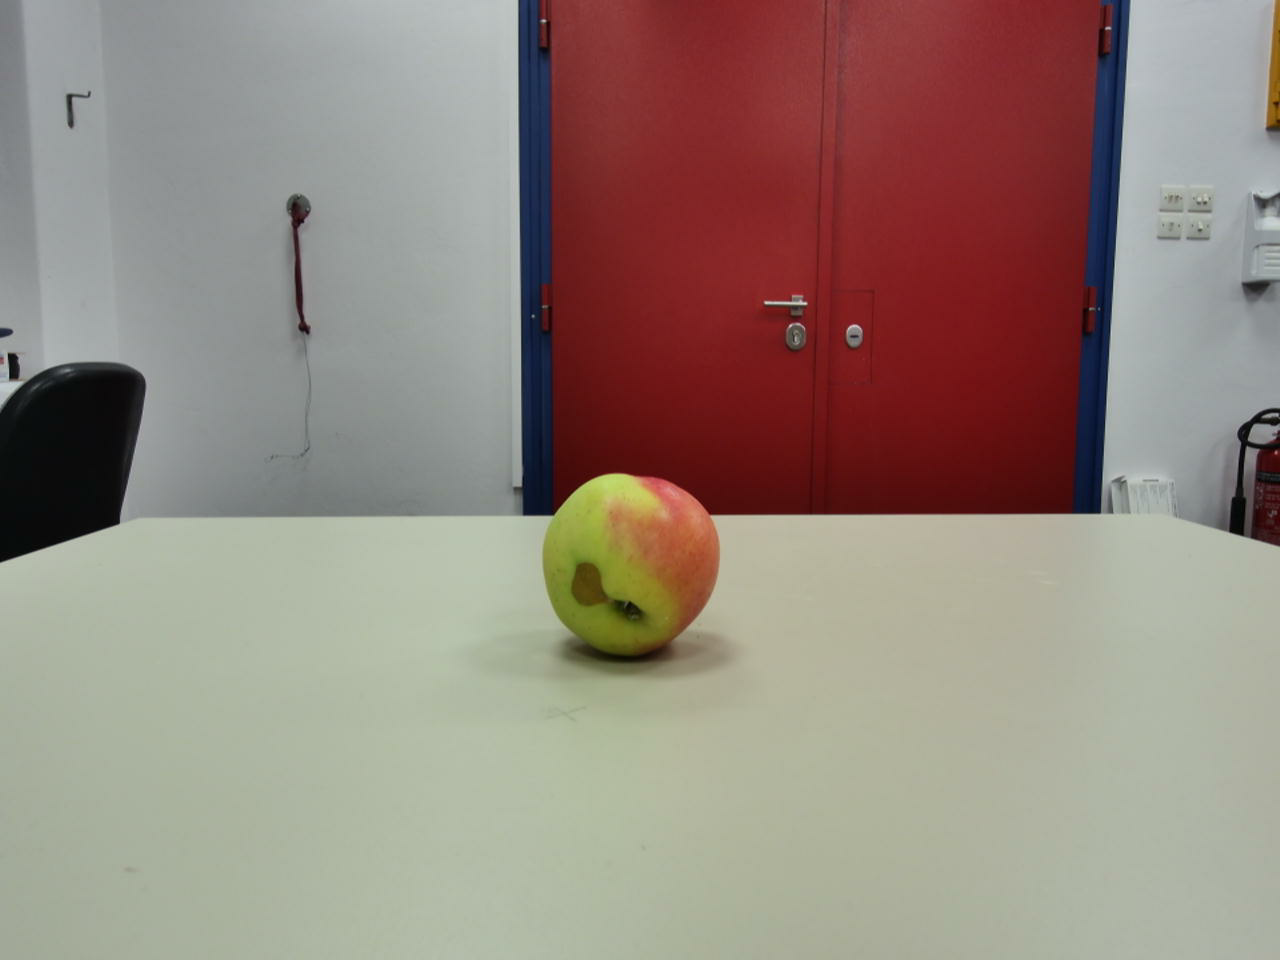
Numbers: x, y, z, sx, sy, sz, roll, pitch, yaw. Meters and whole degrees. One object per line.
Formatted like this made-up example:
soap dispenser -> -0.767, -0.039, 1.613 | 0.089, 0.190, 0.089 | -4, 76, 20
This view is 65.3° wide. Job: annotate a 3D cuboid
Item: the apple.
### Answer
apple -> -0.004, 0.035, 0.423 | 0.075, 0.074, 0.075 | -2, 4, -20
